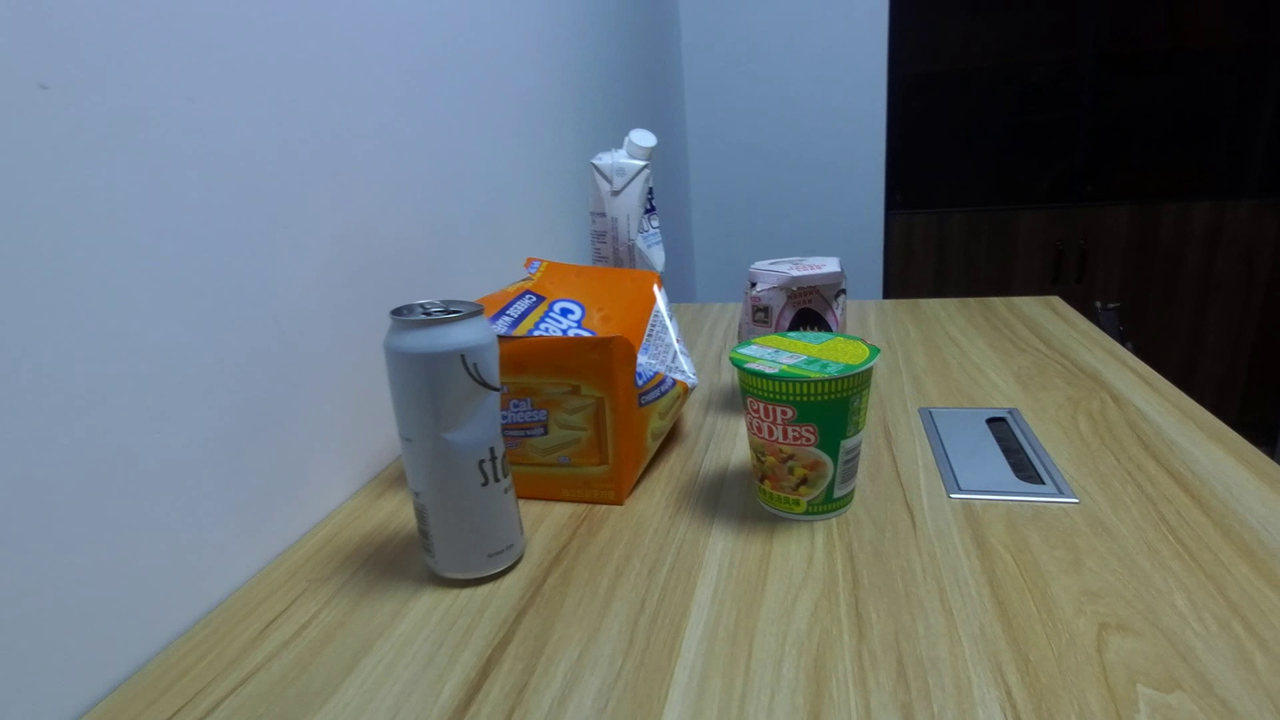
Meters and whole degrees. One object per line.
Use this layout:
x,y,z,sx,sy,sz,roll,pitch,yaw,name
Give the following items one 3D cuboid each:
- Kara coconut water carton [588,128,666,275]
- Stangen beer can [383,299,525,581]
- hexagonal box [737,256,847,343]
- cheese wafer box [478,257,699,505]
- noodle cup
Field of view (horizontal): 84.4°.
-0.015,-0.109,0.746,0.078,0.255,0.083,3,18,16,Kara coconut water carton
-0.110,0.048,0.434,0.069,0.173,0.070,0,18,14,Stangen beer can
0.138,-0.022,0.642,0.091,0.134,0.090,4,18,24,hexagonal box
-0.047,0.003,0.598,0.191,0.145,0.219,0,19,15,cheese wafer box
0.112,0.045,0.479,0.097,0.110,0.097,-5,18,2,noodle cup
